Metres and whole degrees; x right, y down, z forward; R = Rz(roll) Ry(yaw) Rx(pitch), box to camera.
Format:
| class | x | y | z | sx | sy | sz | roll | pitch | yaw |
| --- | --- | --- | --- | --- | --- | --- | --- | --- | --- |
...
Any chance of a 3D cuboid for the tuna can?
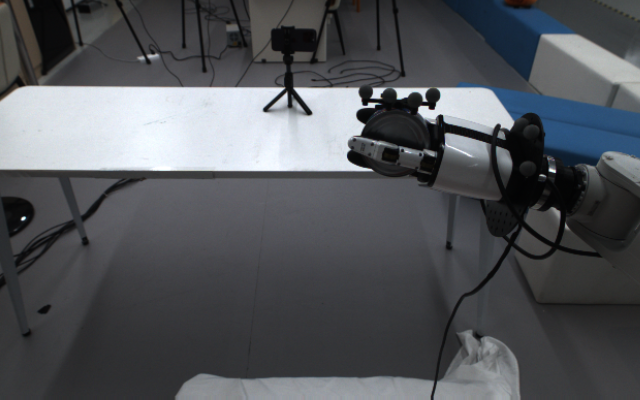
| class | x | y | z | sx | sy | sz | roll | pitch | yaw |
| --- | --- | --- | --- | --- | --- | --- | --- | --- | --- |
| tuna can | 0.095 | -0.075 | 0.606 | 0.085 | 0.085 | 0.034 | 9 | 24 | 10 |
